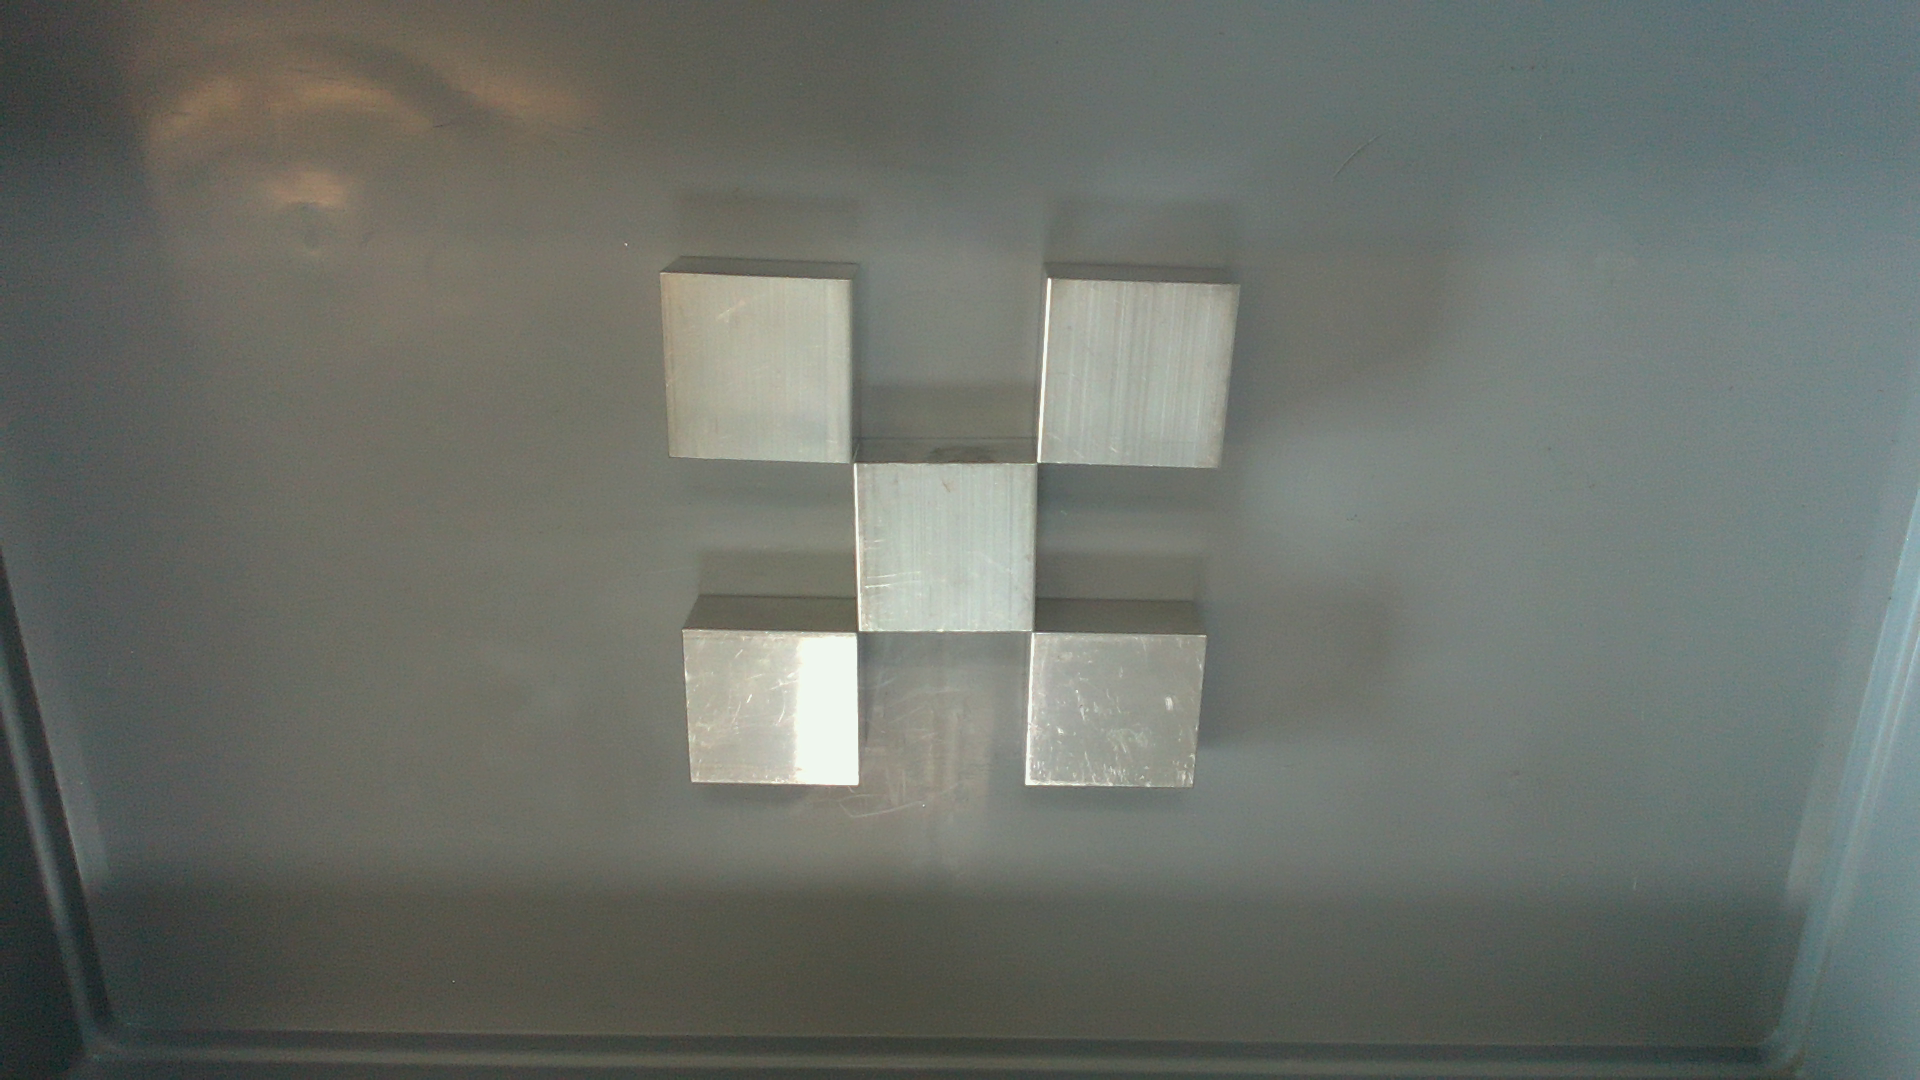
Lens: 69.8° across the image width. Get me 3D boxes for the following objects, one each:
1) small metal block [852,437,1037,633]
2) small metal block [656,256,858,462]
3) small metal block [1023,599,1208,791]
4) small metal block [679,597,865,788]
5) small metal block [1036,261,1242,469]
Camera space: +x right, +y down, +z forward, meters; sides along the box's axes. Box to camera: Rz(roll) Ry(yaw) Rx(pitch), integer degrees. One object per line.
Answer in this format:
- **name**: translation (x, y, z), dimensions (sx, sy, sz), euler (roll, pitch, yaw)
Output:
- **small metal block**: translation (-0.004, -0.002, 0.391), dimensions (0.050, 0.025, 0.050), euler (0, 110, 0)
- **small metal block**: translation (-0.054, -0.049, 0.374), dimensions (0.050, 0.025, 0.050), euler (1, 110, -1)
- **small metal block**: translation (0.045, 0.046, 0.409), dimensions (0.050, 0.025, 0.050), euler (1, 110, -1)
- **small metal block**: translation (-0.054, 0.045, 0.409), dimensions (0.050, 0.025, 0.050), euler (1, 110, 0)
- **small metal block**: translation (0.047, -0.048, 0.374), dimensions (0.050, 0.025, 0.050), euler (2, 110, -1)
